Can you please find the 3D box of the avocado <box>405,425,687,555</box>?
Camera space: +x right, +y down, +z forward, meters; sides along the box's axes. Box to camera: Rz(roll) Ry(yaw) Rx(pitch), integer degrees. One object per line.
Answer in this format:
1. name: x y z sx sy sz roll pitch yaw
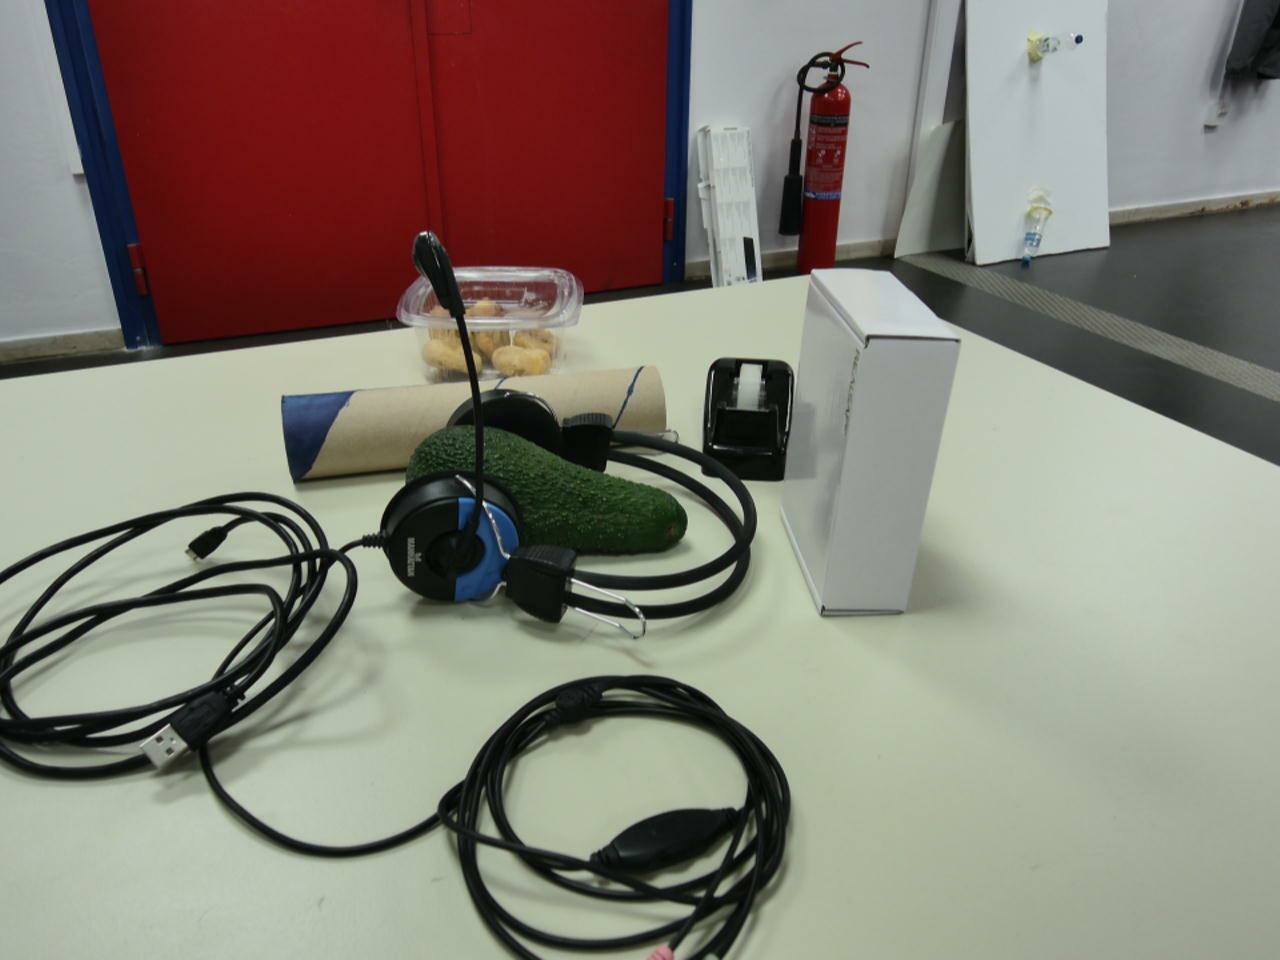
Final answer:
1. avocado: -0.047 0.003 0.506 0.141 0.067 0.063 -4 26 -9
